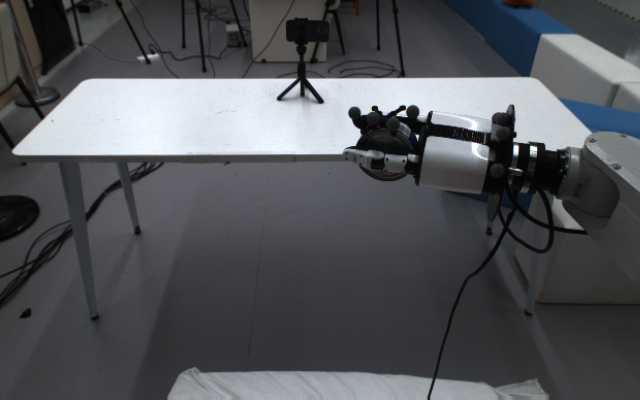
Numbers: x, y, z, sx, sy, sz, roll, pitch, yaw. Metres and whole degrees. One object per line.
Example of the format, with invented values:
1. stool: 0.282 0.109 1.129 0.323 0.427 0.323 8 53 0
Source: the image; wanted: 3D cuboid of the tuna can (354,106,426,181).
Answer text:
1. tuna can: 0.098 -0.067 0.683 0.085 0.085 0.034 12 39 13
